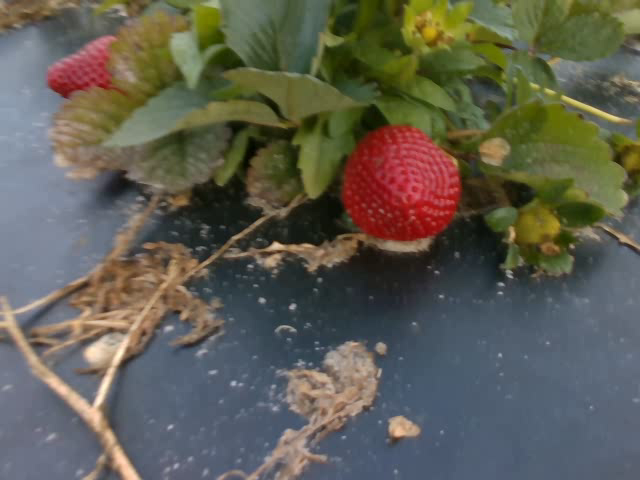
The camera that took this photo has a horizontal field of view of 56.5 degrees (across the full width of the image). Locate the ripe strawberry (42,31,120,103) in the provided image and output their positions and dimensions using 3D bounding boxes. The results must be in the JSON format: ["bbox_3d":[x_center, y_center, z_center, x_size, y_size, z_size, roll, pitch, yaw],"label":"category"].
[{"bbox_3d":[-0.104,-0.074,0.275,0.050,0.043,0.043,-17,44,-21],"label":"ripe strawberry"}]

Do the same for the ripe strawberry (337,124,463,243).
[{"bbox_3d":[0.025,-0.019,0.192,0.043,0.047,0.046,-24,19,8],"label":"ripe strawberry"}]
